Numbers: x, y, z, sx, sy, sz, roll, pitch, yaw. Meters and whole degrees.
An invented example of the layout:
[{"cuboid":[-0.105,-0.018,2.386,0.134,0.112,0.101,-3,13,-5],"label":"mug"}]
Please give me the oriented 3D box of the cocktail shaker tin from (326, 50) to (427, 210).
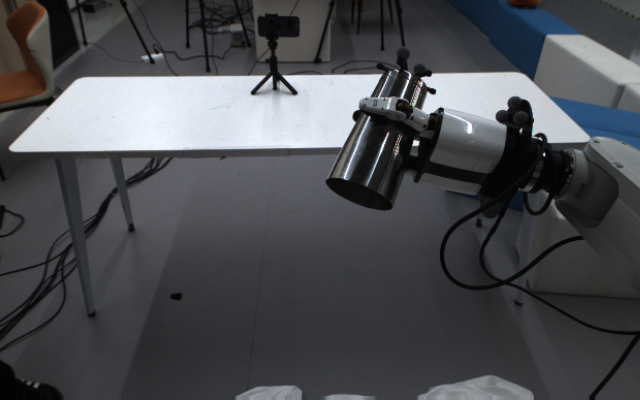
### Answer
[{"cuboid":[0.083,-0.082,0.637,0.093,0.093,0.170,18,76,21],"label":"cocktail shaker tin"}]
